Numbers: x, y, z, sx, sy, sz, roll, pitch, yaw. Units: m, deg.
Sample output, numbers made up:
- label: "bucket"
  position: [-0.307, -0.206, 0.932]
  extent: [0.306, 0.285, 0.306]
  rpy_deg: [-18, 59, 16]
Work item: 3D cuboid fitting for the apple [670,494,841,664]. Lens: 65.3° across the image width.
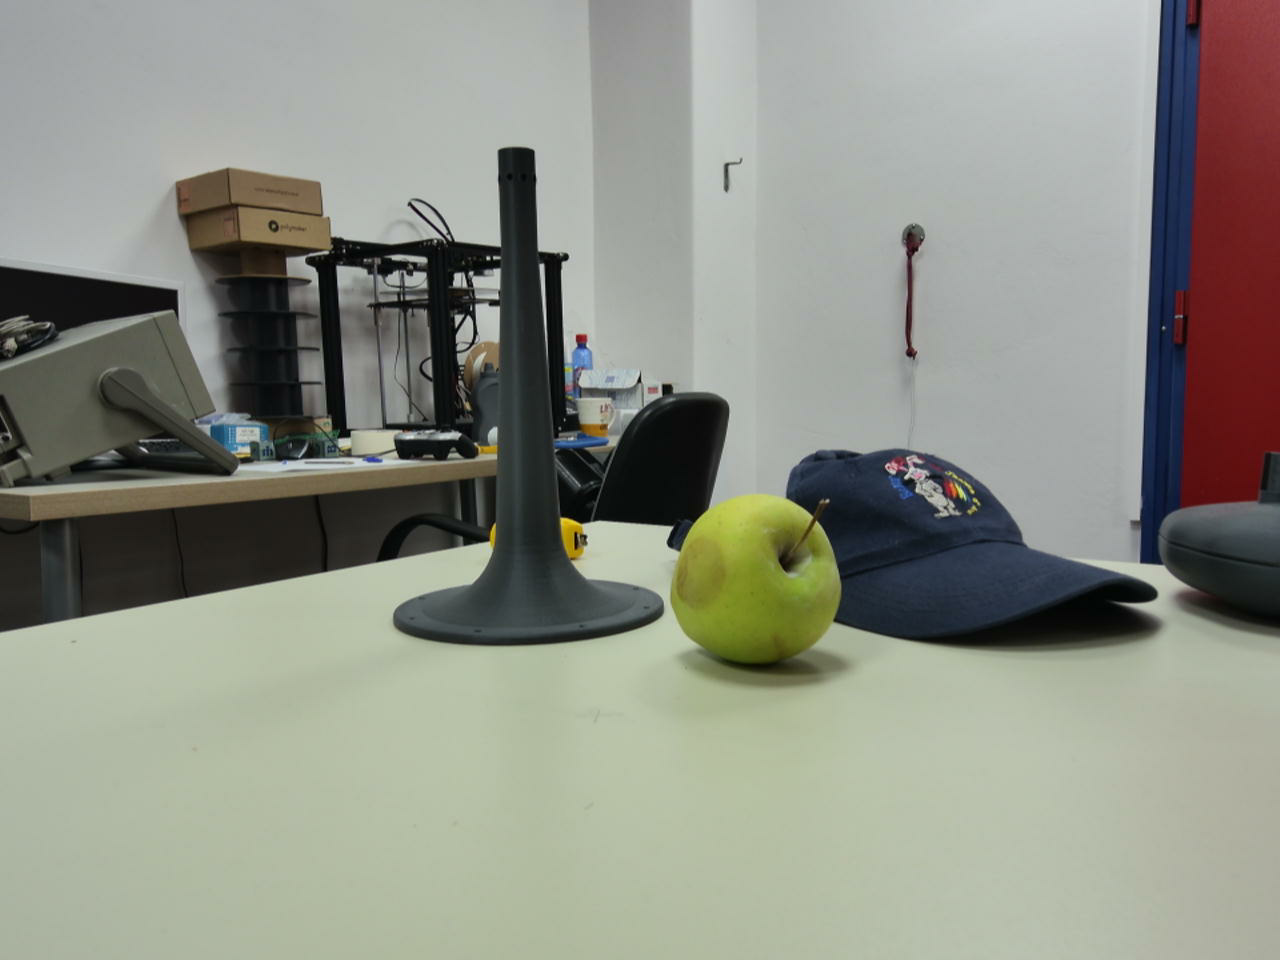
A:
- label: "apple"
  position: [0.052, 0.044, 0.453]
  extent: [0.072, 0.075, 0.077]
  rpy_deg: [-1, 3, -9]
